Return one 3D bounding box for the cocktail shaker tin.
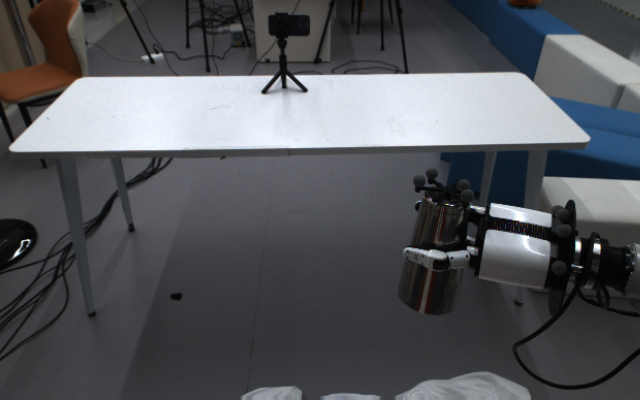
[{"bbox_3d":[0.172,0.070,0.708,0.093,0.170,0.093,3,26,-1],"label":"cocktail shaker tin"}]
